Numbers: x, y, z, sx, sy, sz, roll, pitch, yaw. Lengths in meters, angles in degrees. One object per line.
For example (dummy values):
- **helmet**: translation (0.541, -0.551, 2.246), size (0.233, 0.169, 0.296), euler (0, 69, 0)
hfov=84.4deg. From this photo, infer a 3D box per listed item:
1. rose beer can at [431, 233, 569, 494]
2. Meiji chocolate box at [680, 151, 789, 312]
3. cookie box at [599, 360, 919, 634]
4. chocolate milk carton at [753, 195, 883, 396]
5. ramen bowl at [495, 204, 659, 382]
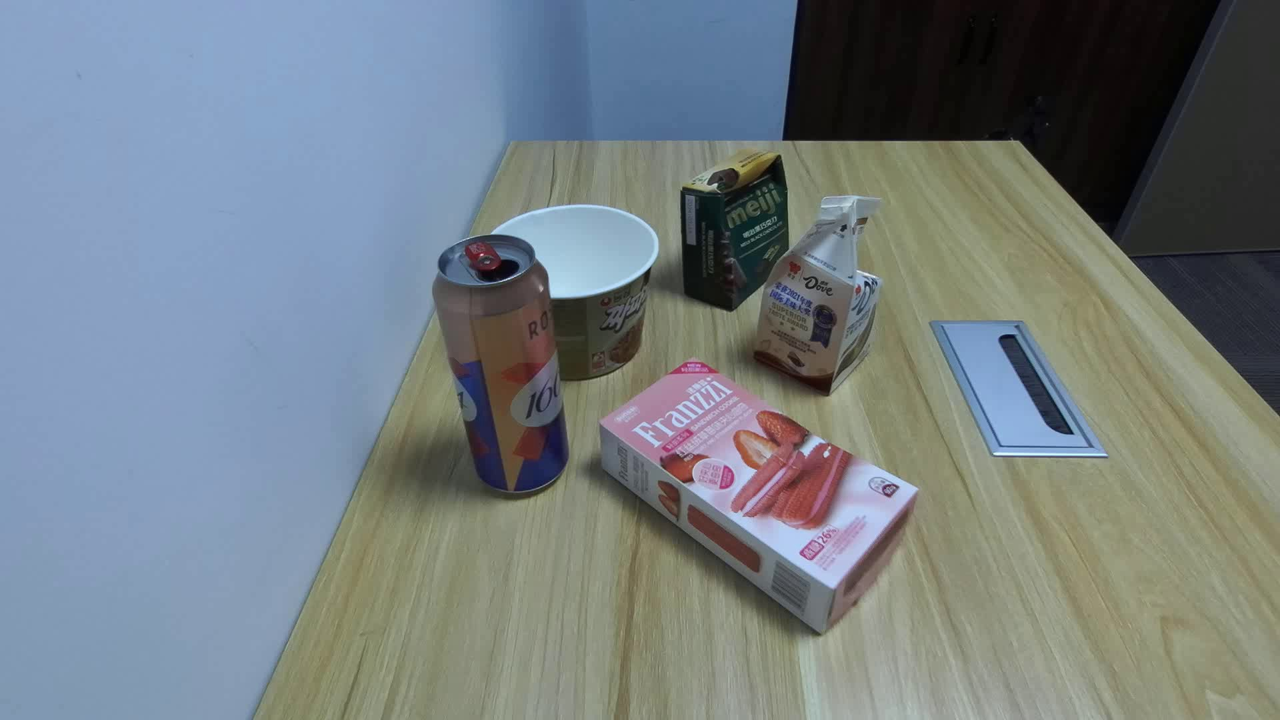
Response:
- **rose beer can**: translation (-0.085, 0.009, 0.450), size (0.068, 0.169, 0.068), euler (0, 38, 0)
- **Meiji chocolate box**: translation (0.090, -0.123, 0.647), size (0.051, 0.117, 0.117), euler (17, 41, 34)
- **cookie box**: translation (0.074, 0.075, 0.457), size (0.186, 0.049, 0.105), euler (32, 50, 33)
- **chocolate milk carton**: translation (0.142, -0.060, 0.535), size (0.073, 0.156, 0.076), euler (28, 46, 28)
- **ramen bowl**: translation (-0.054, -0.054, 0.582), size (0.140, 0.095, 0.140), euler (0, 40, 0)
